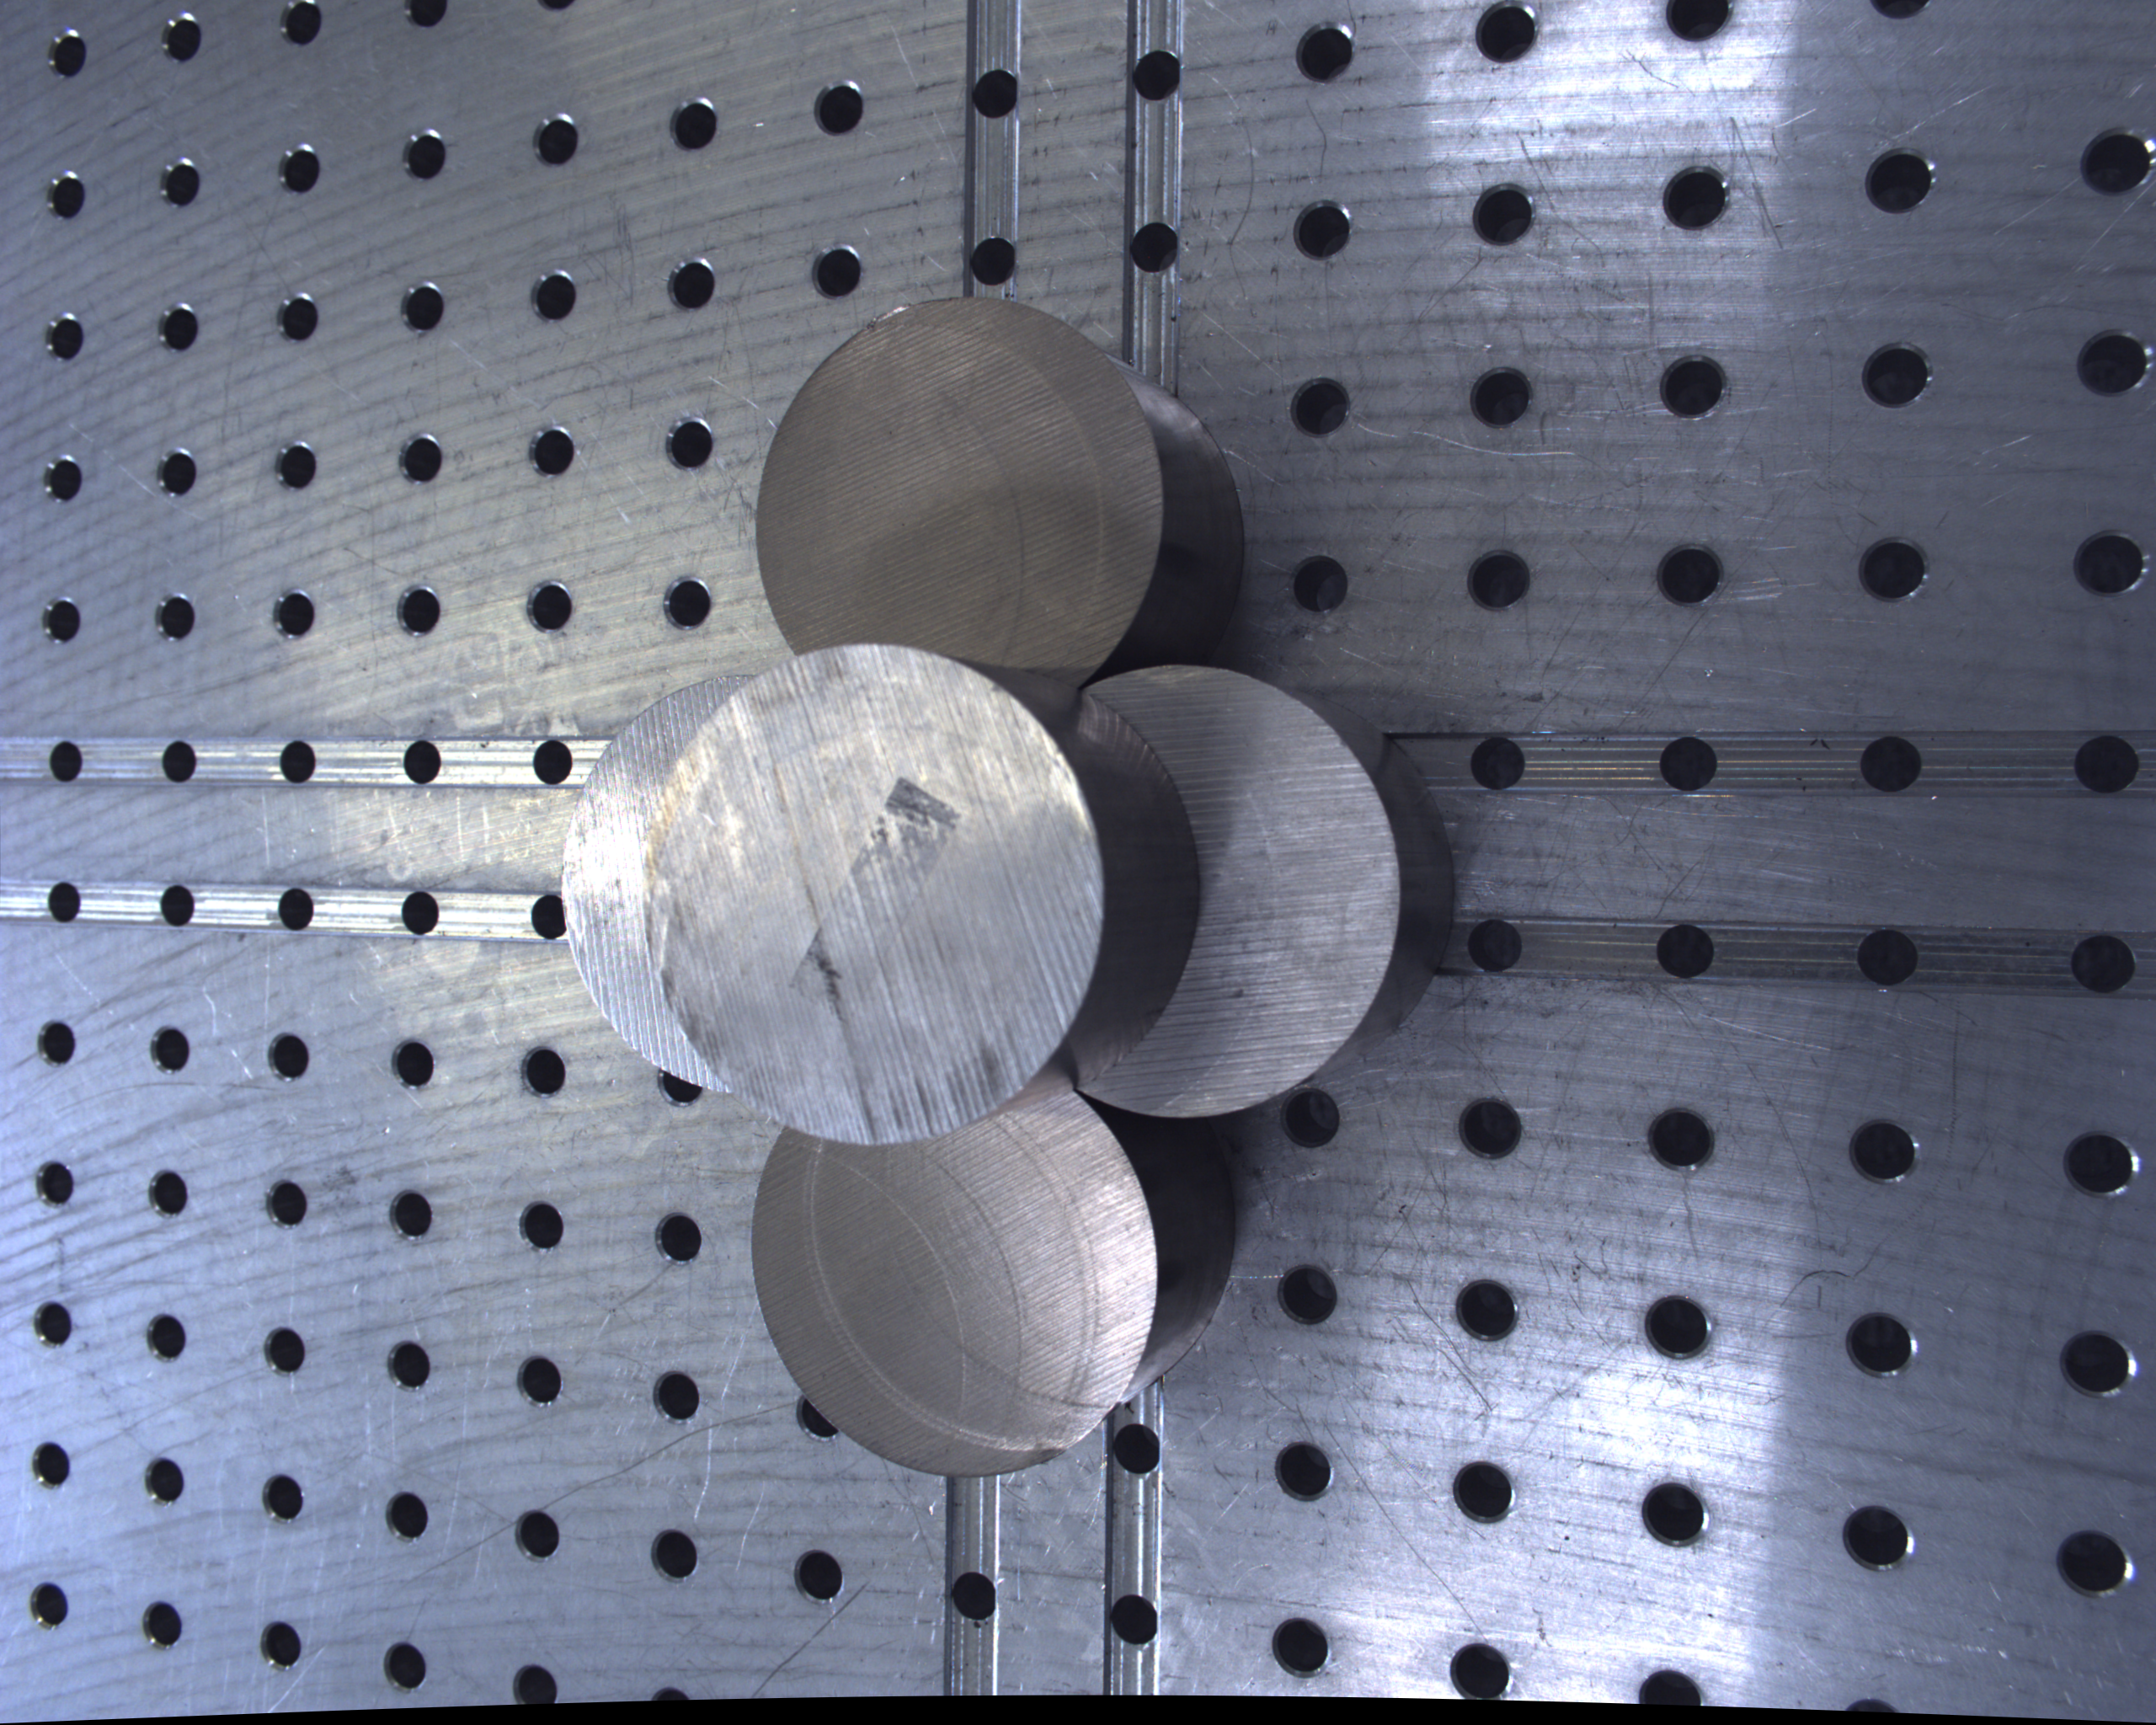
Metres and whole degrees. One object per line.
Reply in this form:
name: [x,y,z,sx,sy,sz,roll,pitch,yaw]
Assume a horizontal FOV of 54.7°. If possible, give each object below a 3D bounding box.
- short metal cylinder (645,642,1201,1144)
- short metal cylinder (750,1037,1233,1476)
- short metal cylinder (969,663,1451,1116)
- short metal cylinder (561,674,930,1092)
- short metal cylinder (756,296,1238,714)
short metal cylinder: [-0.025,0.005,0.354,0.080,0.050,0.079,0,90,20]
short metal cylinder: [-0.016,0.072,0.404,0.080,0.050,0.080,-1,88,19]
short metal cylinder: [0.025,0.005,0.390,0.080,0.050,0.080,0,90,20]
short metal cylinder: [-0.055,0.004,0.419,0.080,0.050,0.079,0,90,20]
short metal cylinder: [-0.014,-0.064,0.404,0.080,0.050,0.079,0,90,19]
